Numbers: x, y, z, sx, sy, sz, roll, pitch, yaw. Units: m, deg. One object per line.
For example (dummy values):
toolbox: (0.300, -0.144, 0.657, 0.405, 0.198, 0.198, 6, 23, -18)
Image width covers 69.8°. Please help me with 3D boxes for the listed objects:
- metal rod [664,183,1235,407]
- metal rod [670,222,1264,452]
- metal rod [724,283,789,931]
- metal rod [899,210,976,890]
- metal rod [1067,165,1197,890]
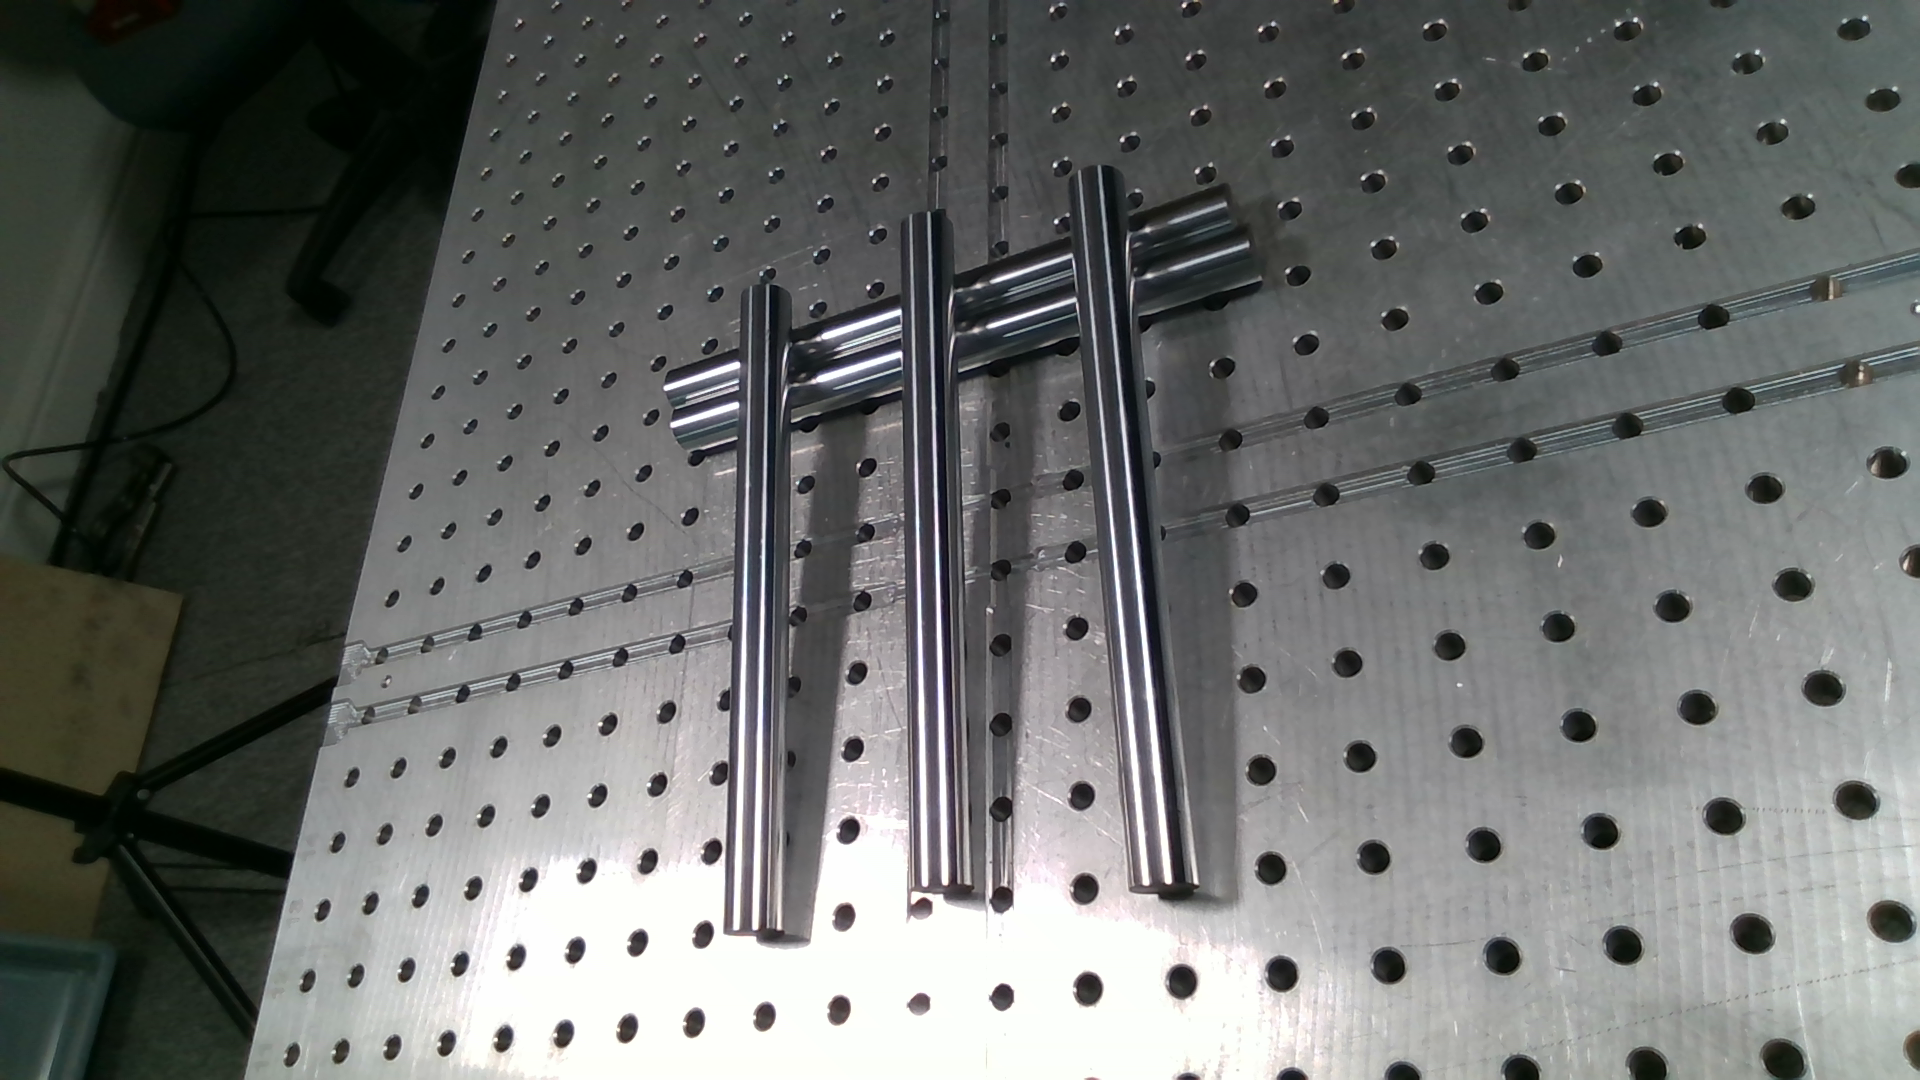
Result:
metal rod: (-0.015, -0.109, 0.655, 0.300, 0.025, 0.025, -14, 59, 25)
metal rod: (-0.008, -0.089, 0.640, 0.300, 0.025, 0.025, -14, 59, 25)
metal rod: (-0.089, 0.020, 0.614, 0.025, 0.025, 0.299, -14, 65, 25)
metal rod: (-0.011, -0.006, 0.579, 0.025, 0.025, 0.299, -13, 65, 26)
metal rod: (0.064, -0.016, 0.539, 0.025, 0.025, 0.299, -14, 65, 25)
